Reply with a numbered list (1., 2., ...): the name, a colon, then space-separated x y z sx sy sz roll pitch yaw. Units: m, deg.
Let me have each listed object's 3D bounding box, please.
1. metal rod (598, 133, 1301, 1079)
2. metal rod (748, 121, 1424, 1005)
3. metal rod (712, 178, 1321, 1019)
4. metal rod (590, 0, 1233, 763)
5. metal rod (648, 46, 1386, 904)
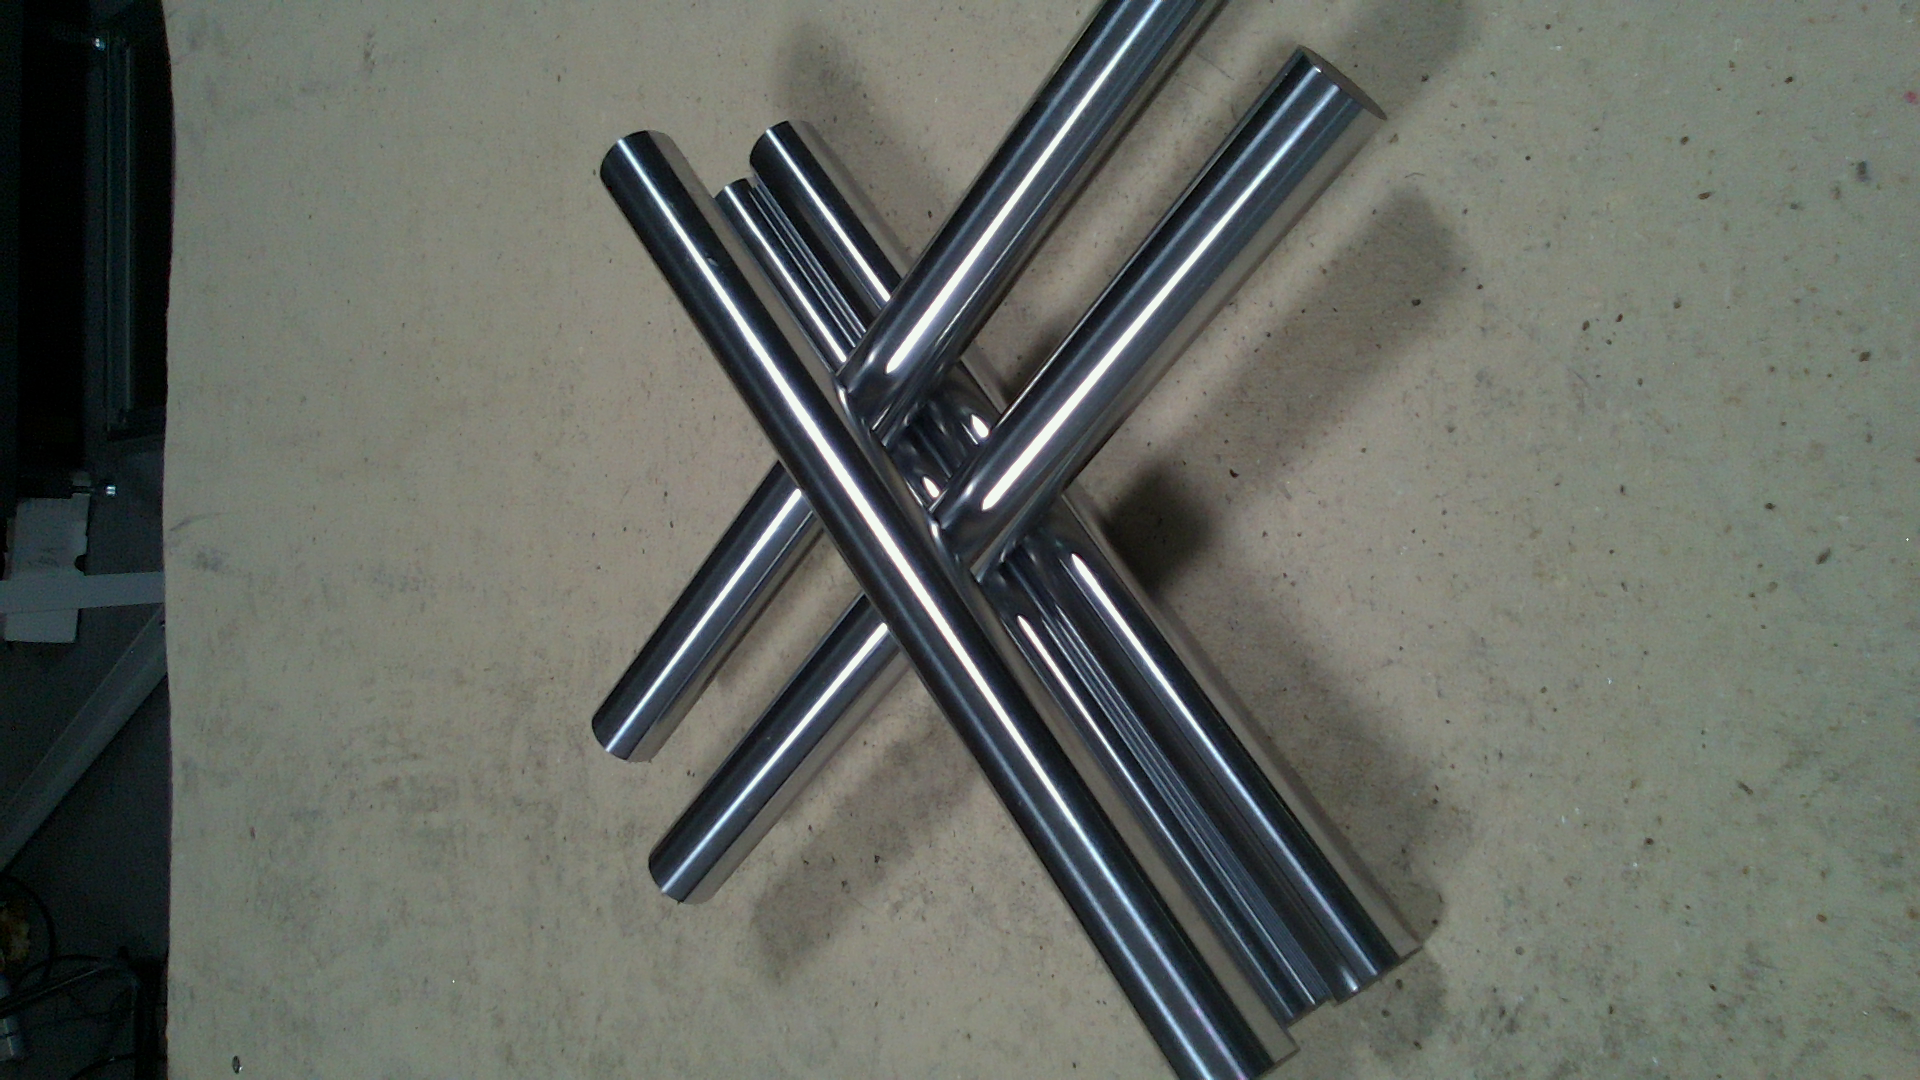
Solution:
1. metal rod: -0.018 0.000 0.344 0.025 0.025 0.299 -50 60 28
2. metal rod: 0.019 -0.012 0.378 0.025 0.025 0.299 -49 61 29
3. metal rod: 0.004 0.002 0.392 0.025 0.025 0.299 -49 61 29
4. metal rod: -0.026 -0.037 0.384 0.299 0.025 0.025 -50 60 28
5. metal rod: -0.003 0.004 0.365 0.299 0.025 0.025 -50 60 28
